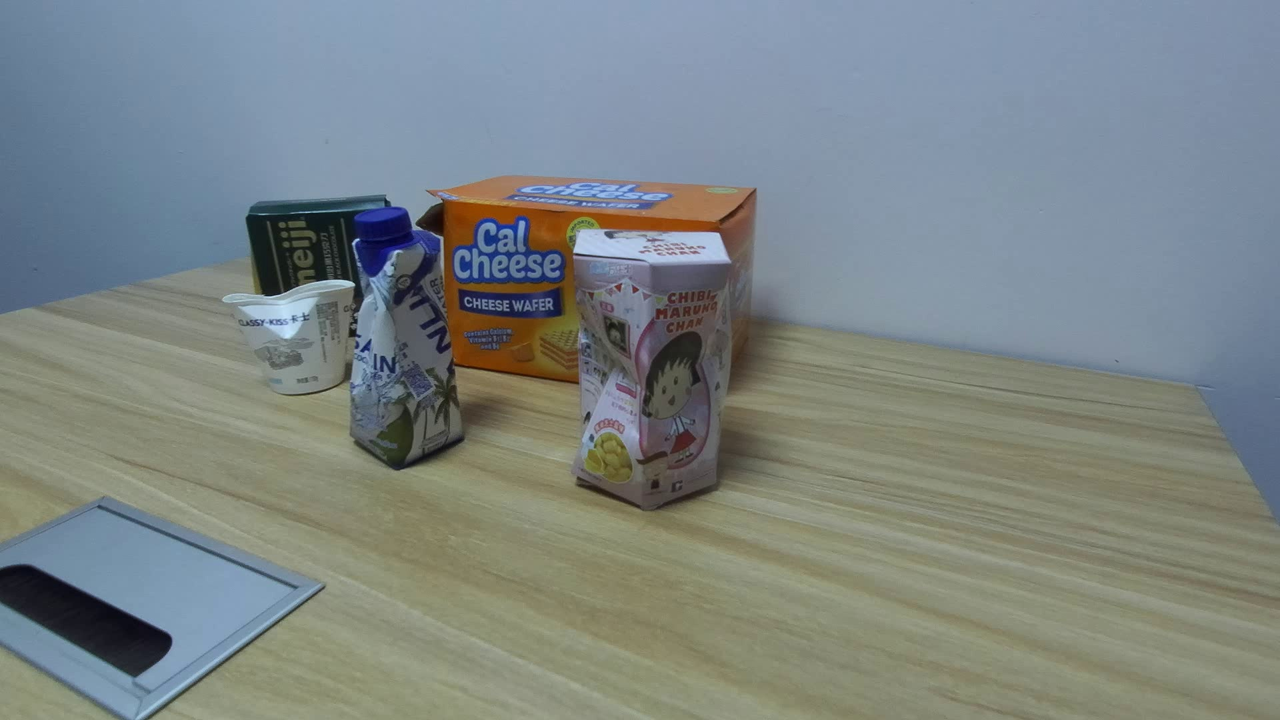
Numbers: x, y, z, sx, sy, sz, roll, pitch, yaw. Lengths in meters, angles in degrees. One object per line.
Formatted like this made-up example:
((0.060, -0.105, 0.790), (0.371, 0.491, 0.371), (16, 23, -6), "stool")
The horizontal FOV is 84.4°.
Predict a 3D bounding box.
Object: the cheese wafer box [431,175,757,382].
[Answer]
((-0.032, -0.070, 0.557), (0.226, 0.137, 0.150), (8, 23, 16), "cheese wafer box")

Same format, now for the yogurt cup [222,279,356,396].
((-0.241, -0.018, 0.500), (0.053, 0.071, 0.076), (16, 28, 32), "yogurt cup")

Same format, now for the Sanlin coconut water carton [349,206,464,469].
((-0.131, -0.014, 0.412), (0.056, 0.144, 0.069), (23, 23, 32), "Sanlin coconut water carton")

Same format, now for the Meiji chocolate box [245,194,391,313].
((-0.256, -0.078, 0.591), (0.123, 0.116, 0.058), (-4, 24, -12), "Meiji chocolate box")
